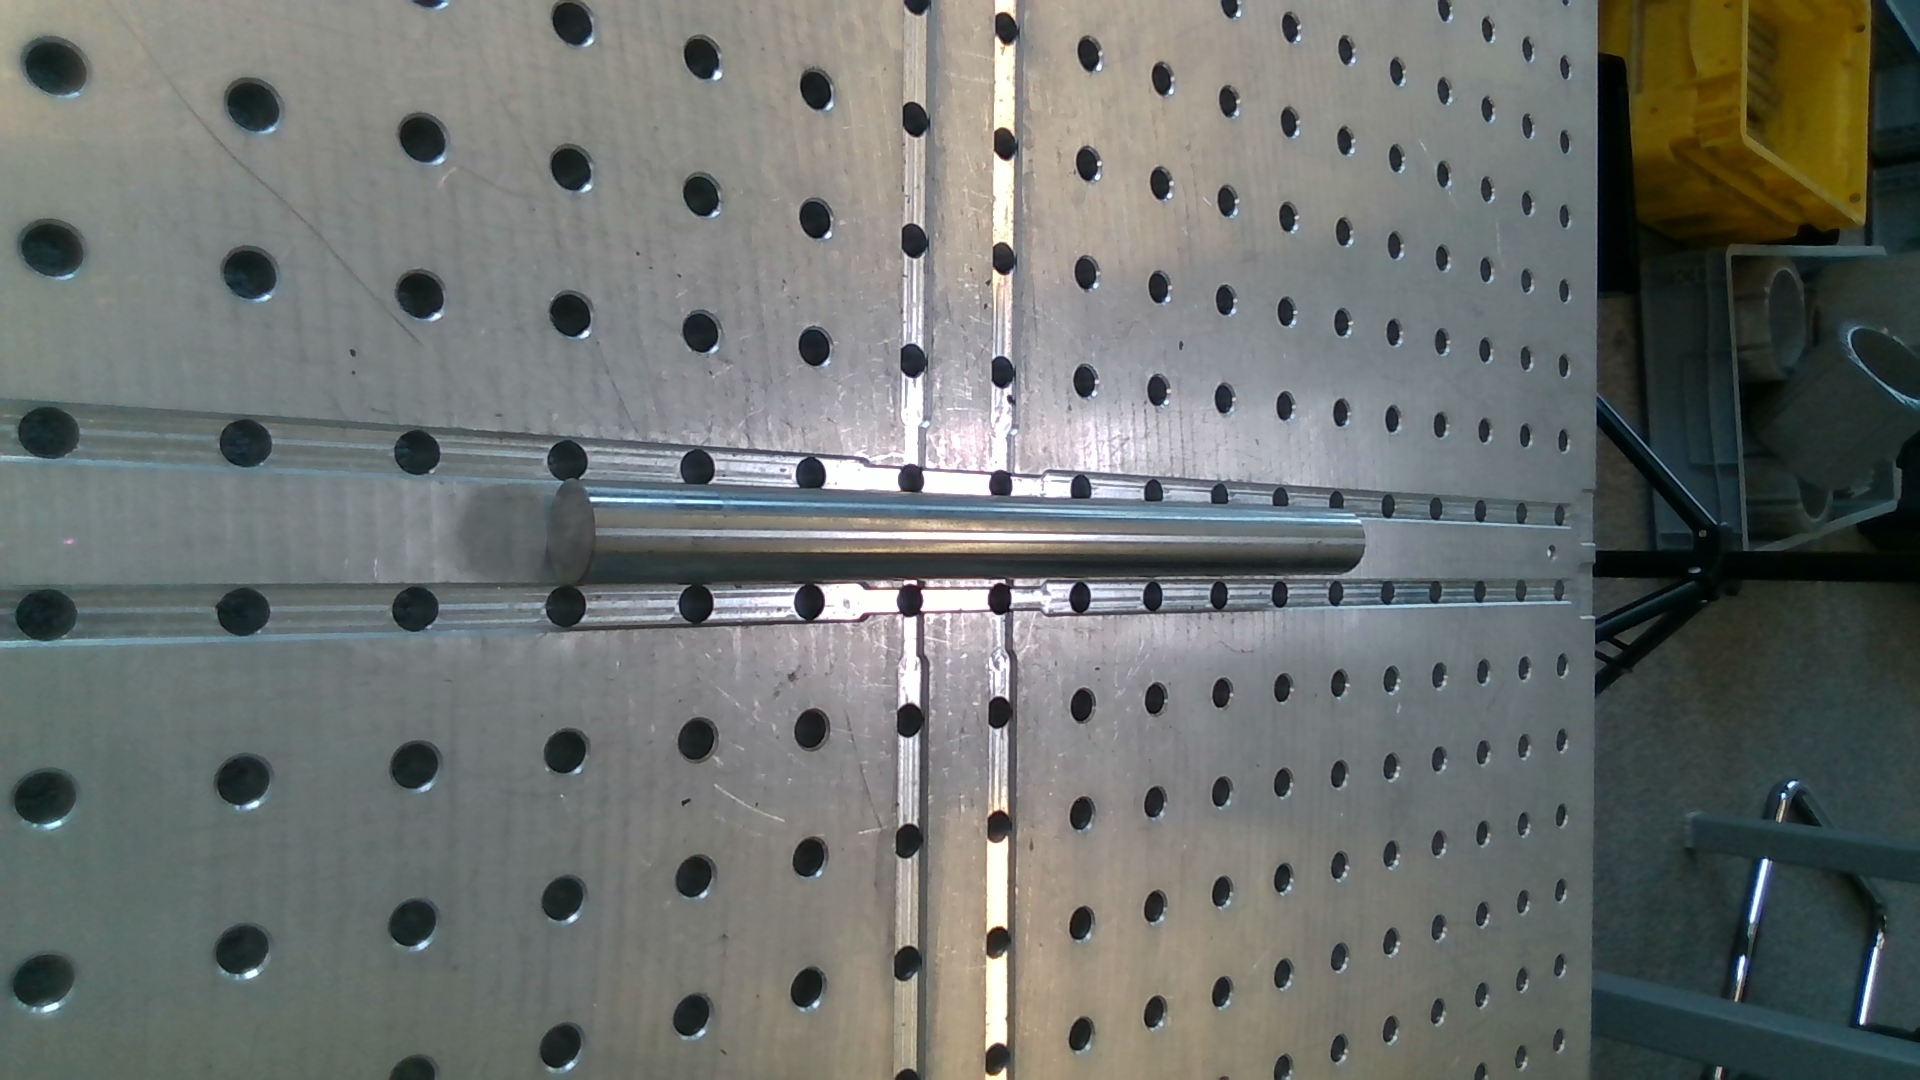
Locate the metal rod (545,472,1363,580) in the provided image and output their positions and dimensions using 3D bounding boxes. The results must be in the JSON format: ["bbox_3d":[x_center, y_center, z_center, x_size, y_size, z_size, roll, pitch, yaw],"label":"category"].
[{"bbox_3d":[0.024,-0.002,0.415,0.300,0.025,0.025,1,89,-40],"label":"metal rod"}]
